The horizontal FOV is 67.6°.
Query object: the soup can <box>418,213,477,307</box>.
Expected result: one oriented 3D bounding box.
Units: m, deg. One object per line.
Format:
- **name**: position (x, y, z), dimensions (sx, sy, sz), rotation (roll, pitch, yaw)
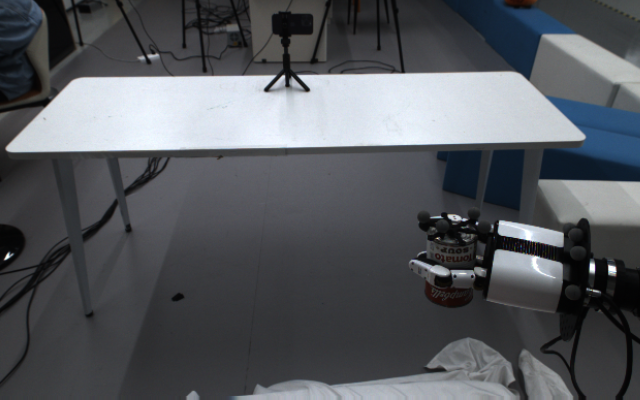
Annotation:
- **soup can**: position (0.183, 0.087, 0.671), dimensions (0.067, 0.101, 0.067), rotation (-3, 26, 2)
